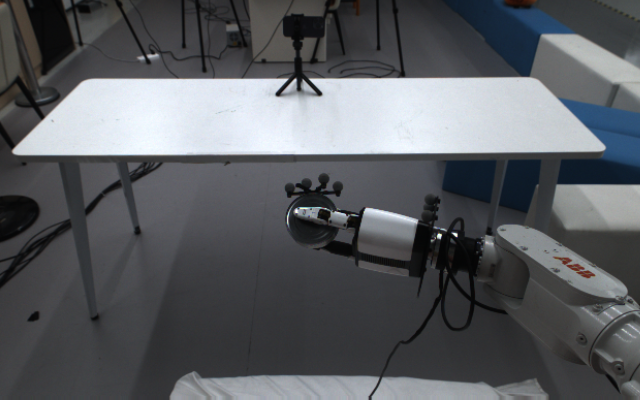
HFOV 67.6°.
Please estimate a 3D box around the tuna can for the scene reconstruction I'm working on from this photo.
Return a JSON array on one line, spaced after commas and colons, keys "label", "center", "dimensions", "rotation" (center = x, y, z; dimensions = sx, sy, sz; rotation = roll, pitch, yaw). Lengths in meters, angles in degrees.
[{"label": "tuna can", "center": [-0.010, 0.038, 0.772], "dimensions": [0.085, 0.034, 0.085], "rotation": [-2, 69, 6]}]
